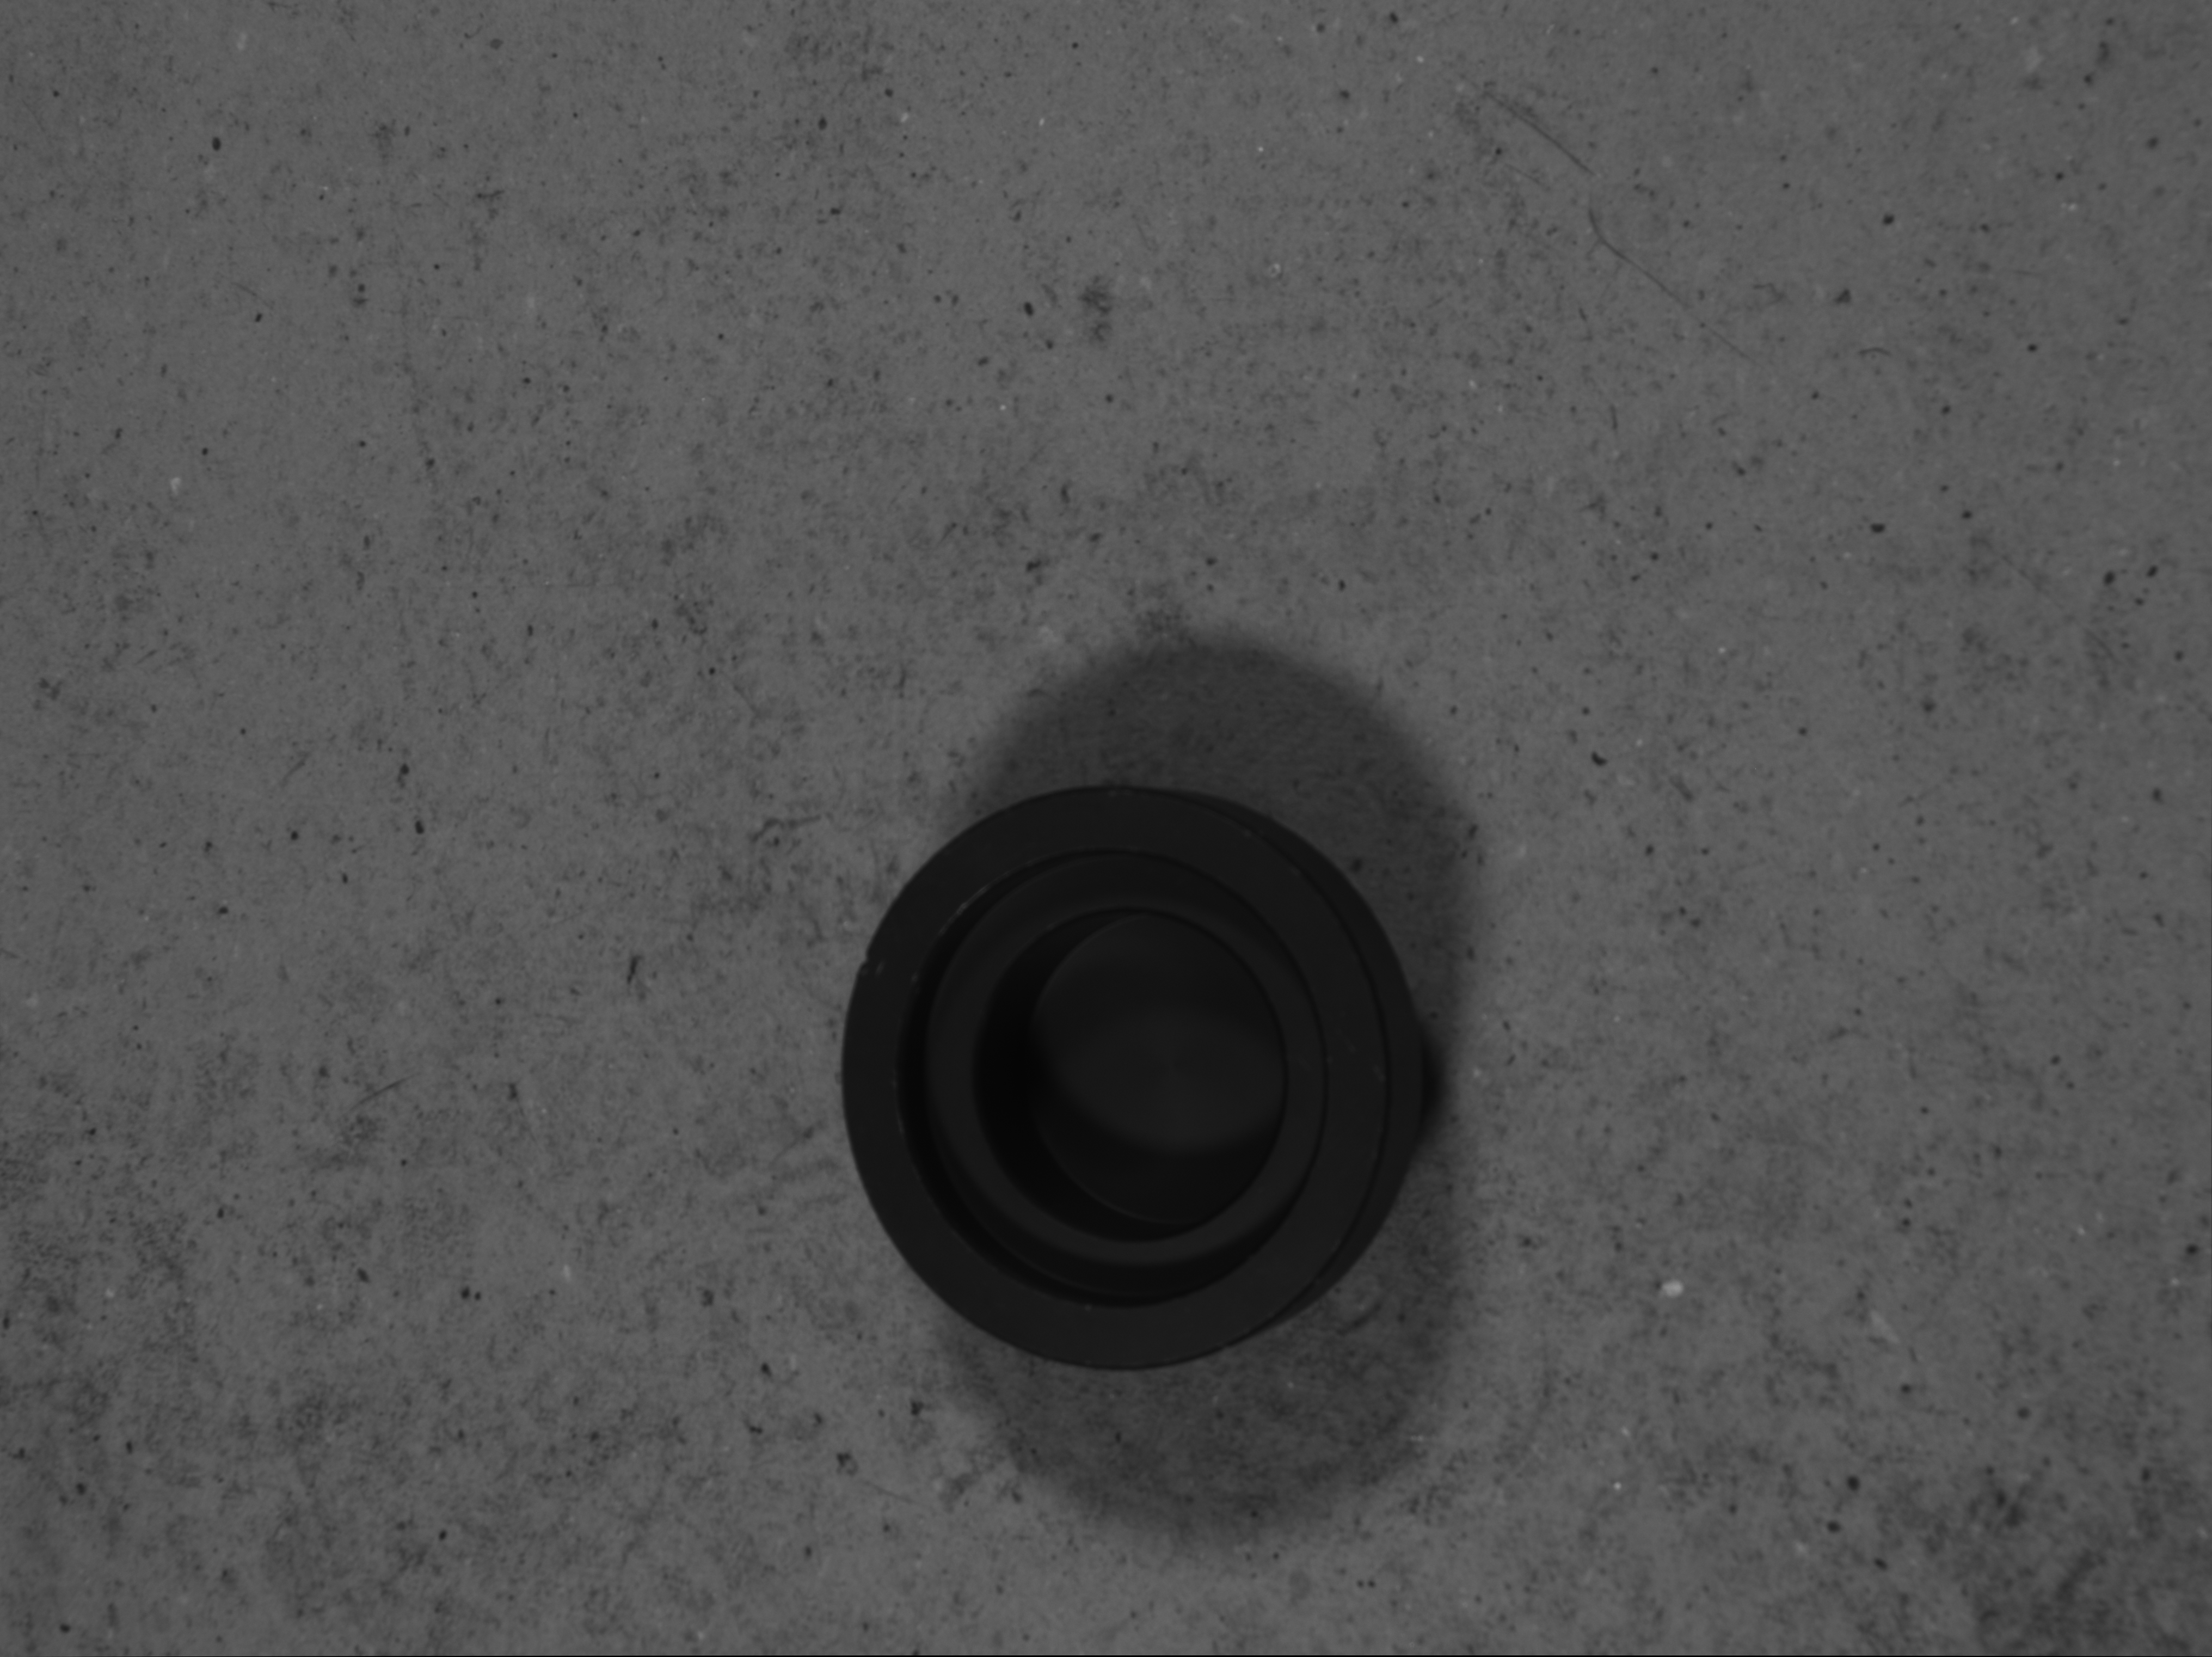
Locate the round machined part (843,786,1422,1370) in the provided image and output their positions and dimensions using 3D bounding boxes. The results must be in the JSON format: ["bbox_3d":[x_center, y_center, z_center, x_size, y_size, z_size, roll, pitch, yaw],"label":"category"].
[{"bbox_3d":[0.008,0.042,0.633,0.098,0.042,0.098,0,90,20],"label":"round machined part"}]
